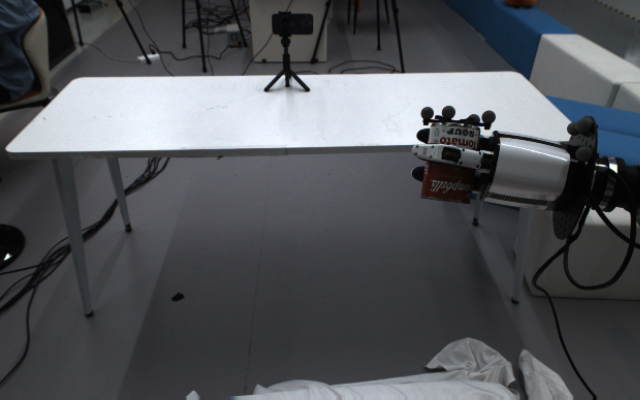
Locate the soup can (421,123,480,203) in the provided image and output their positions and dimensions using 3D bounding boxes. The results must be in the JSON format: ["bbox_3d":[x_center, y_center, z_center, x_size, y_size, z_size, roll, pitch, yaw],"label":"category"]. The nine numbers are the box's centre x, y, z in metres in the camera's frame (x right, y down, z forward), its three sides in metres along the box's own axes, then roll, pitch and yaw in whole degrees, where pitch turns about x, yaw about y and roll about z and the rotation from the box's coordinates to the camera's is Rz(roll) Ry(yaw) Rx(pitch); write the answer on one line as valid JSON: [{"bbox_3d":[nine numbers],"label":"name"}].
[{"bbox_3d":[0.177,-0.049,0.652,0.067,0.101,0.067,7,3,0],"label":"soup can"}]
